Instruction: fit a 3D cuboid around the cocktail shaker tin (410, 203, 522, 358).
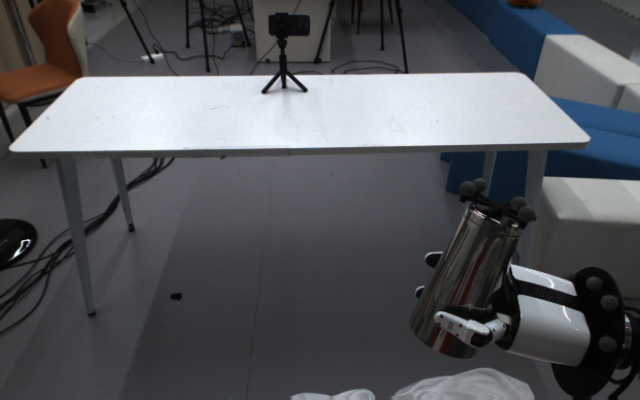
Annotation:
[{"bbox_3d":[0.181,0.092,0.586,0.093,0.170,0.093,14,20,-5],"label":"cocktail shaker tin"}]
